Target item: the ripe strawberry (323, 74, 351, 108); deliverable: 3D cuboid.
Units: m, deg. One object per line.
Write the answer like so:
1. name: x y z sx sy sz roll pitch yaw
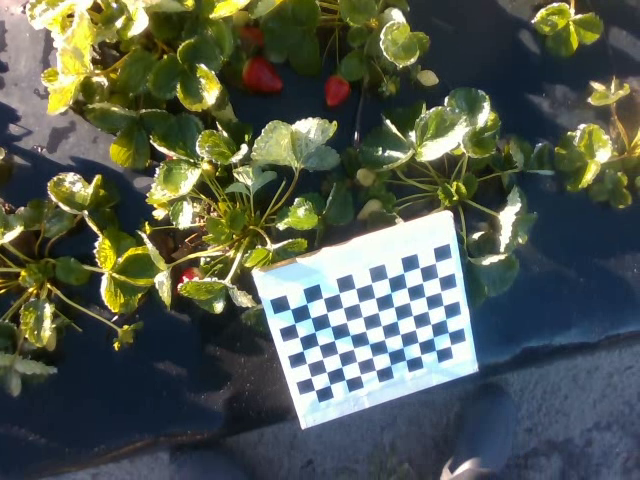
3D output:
1. ripe strawberry: 0.021 -0.191 0.834 0.039 0.047 0.040 20 -1 -19

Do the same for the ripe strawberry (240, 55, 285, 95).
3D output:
1. ripe strawberry: -0.071 -0.208 0.821 0.056 0.044 0.040 32 6 -20
